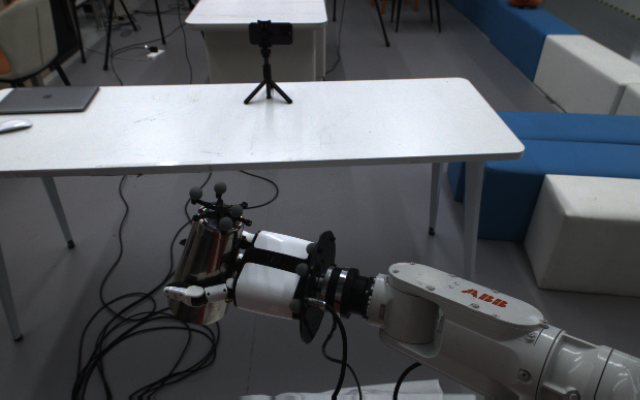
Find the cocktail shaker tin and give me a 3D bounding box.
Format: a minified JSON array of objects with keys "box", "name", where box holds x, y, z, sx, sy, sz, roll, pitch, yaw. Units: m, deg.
[{"box":[-0.160,0.087,0.699,0.093,0.170,0.093,15,31,-10],"name":"cocktail shaker tin"}]
